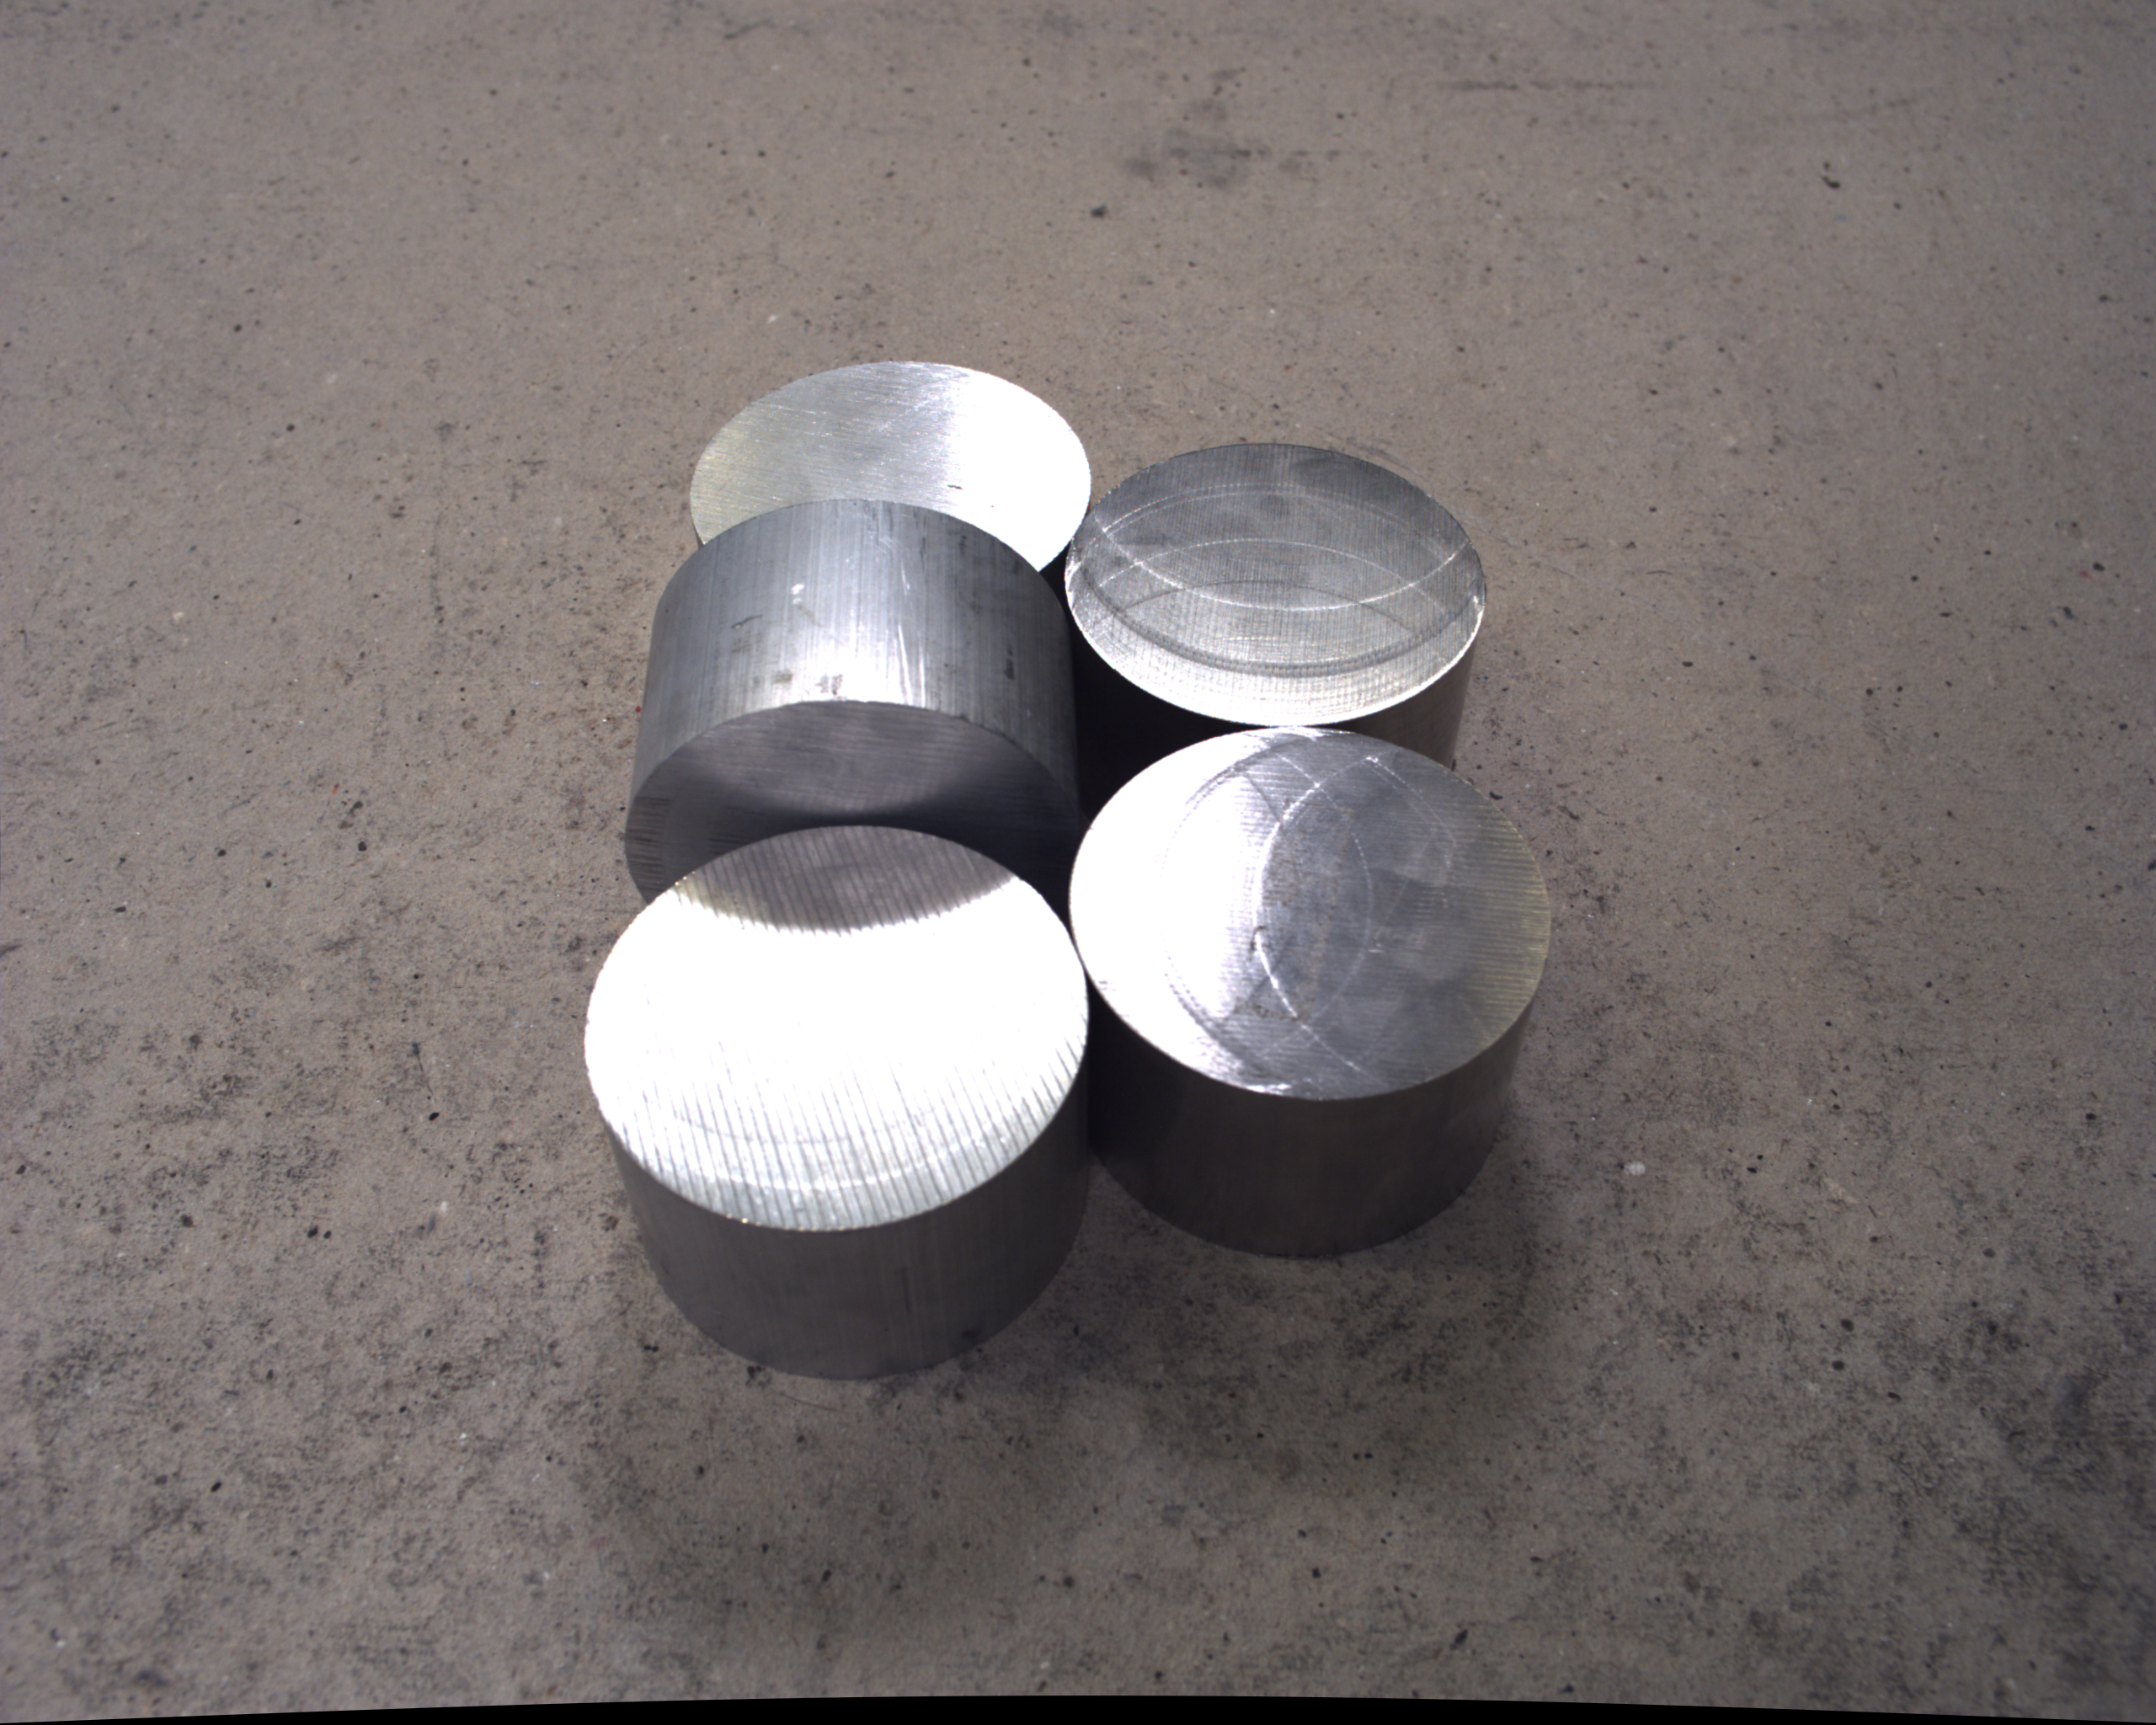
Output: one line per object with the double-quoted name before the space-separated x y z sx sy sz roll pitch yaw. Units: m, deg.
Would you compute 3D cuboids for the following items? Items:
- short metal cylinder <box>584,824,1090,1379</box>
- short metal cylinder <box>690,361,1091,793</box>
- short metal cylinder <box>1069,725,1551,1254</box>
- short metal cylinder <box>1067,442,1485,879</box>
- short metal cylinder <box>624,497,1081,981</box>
"short metal cylinder" -0.038 0.040 0.354 0.080 0.050 0.080 0 50 1
"short metal cylinder" -0.037 -0.061 0.439 0.080 0.050 0.080 0 50 1
"short metal cylinder" 0.039 0.022 0.369 0.080 0.050 0.080 0 51 1
"short metal cylinder" 0.038 -0.040 0.421 0.080 0.050 0.080 0 51 0
"short metal cylinder" -0.041 -0.021 0.386 0.081 0.080 0.050 -2 50 -2
